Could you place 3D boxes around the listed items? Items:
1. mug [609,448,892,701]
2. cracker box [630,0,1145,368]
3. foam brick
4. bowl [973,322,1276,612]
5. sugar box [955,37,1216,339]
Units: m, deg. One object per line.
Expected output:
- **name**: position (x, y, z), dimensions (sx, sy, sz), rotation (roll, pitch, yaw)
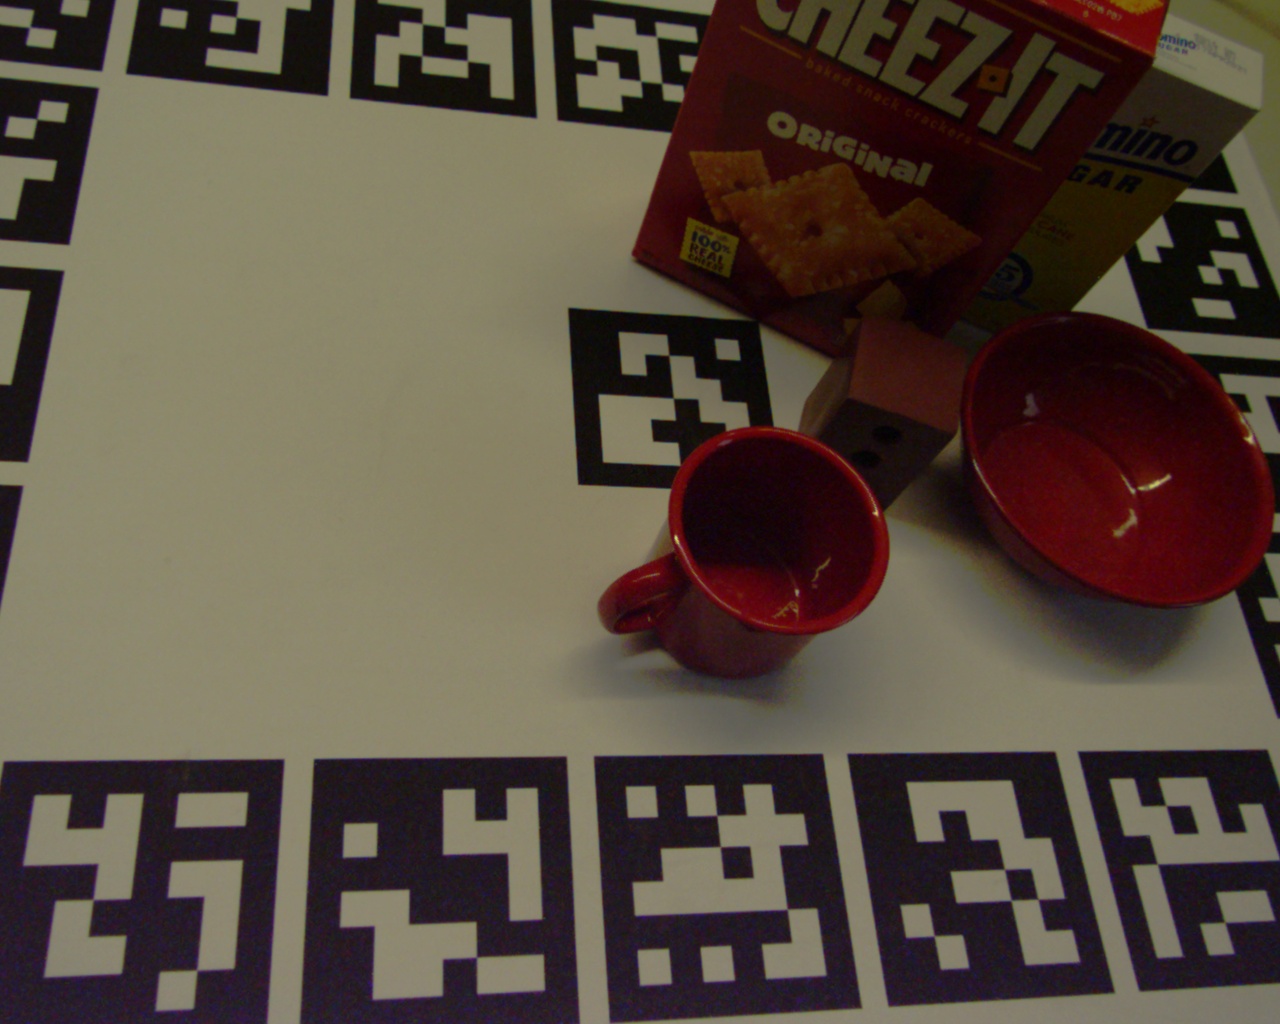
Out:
- **mug**: position (0.043, 0.034, 0.505), dimensions (0.116, 0.081, 0.094), rotation (-8, 57, -15)
- **cracker box**: position (0.102, -0.167, 0.552), dimensions (0.164, 0.214, 0.072), rotation (28, 58, 0)
- **foam brick**: position (0.111, -0.044, 0.573), dimensions (0.052, 0.078, 0.051), rotation (15, 60, -6)
- **bowl**: position (0.234, -0.016, 0.582), dimensions (0.161, 0.055, 0.162), rotation (5, 63, -11)
- **sugar box**: position (0.204, -0.169, 0.597), dimensions (0.093, 0.177, 0.045), rotation (20, 60, -3)
